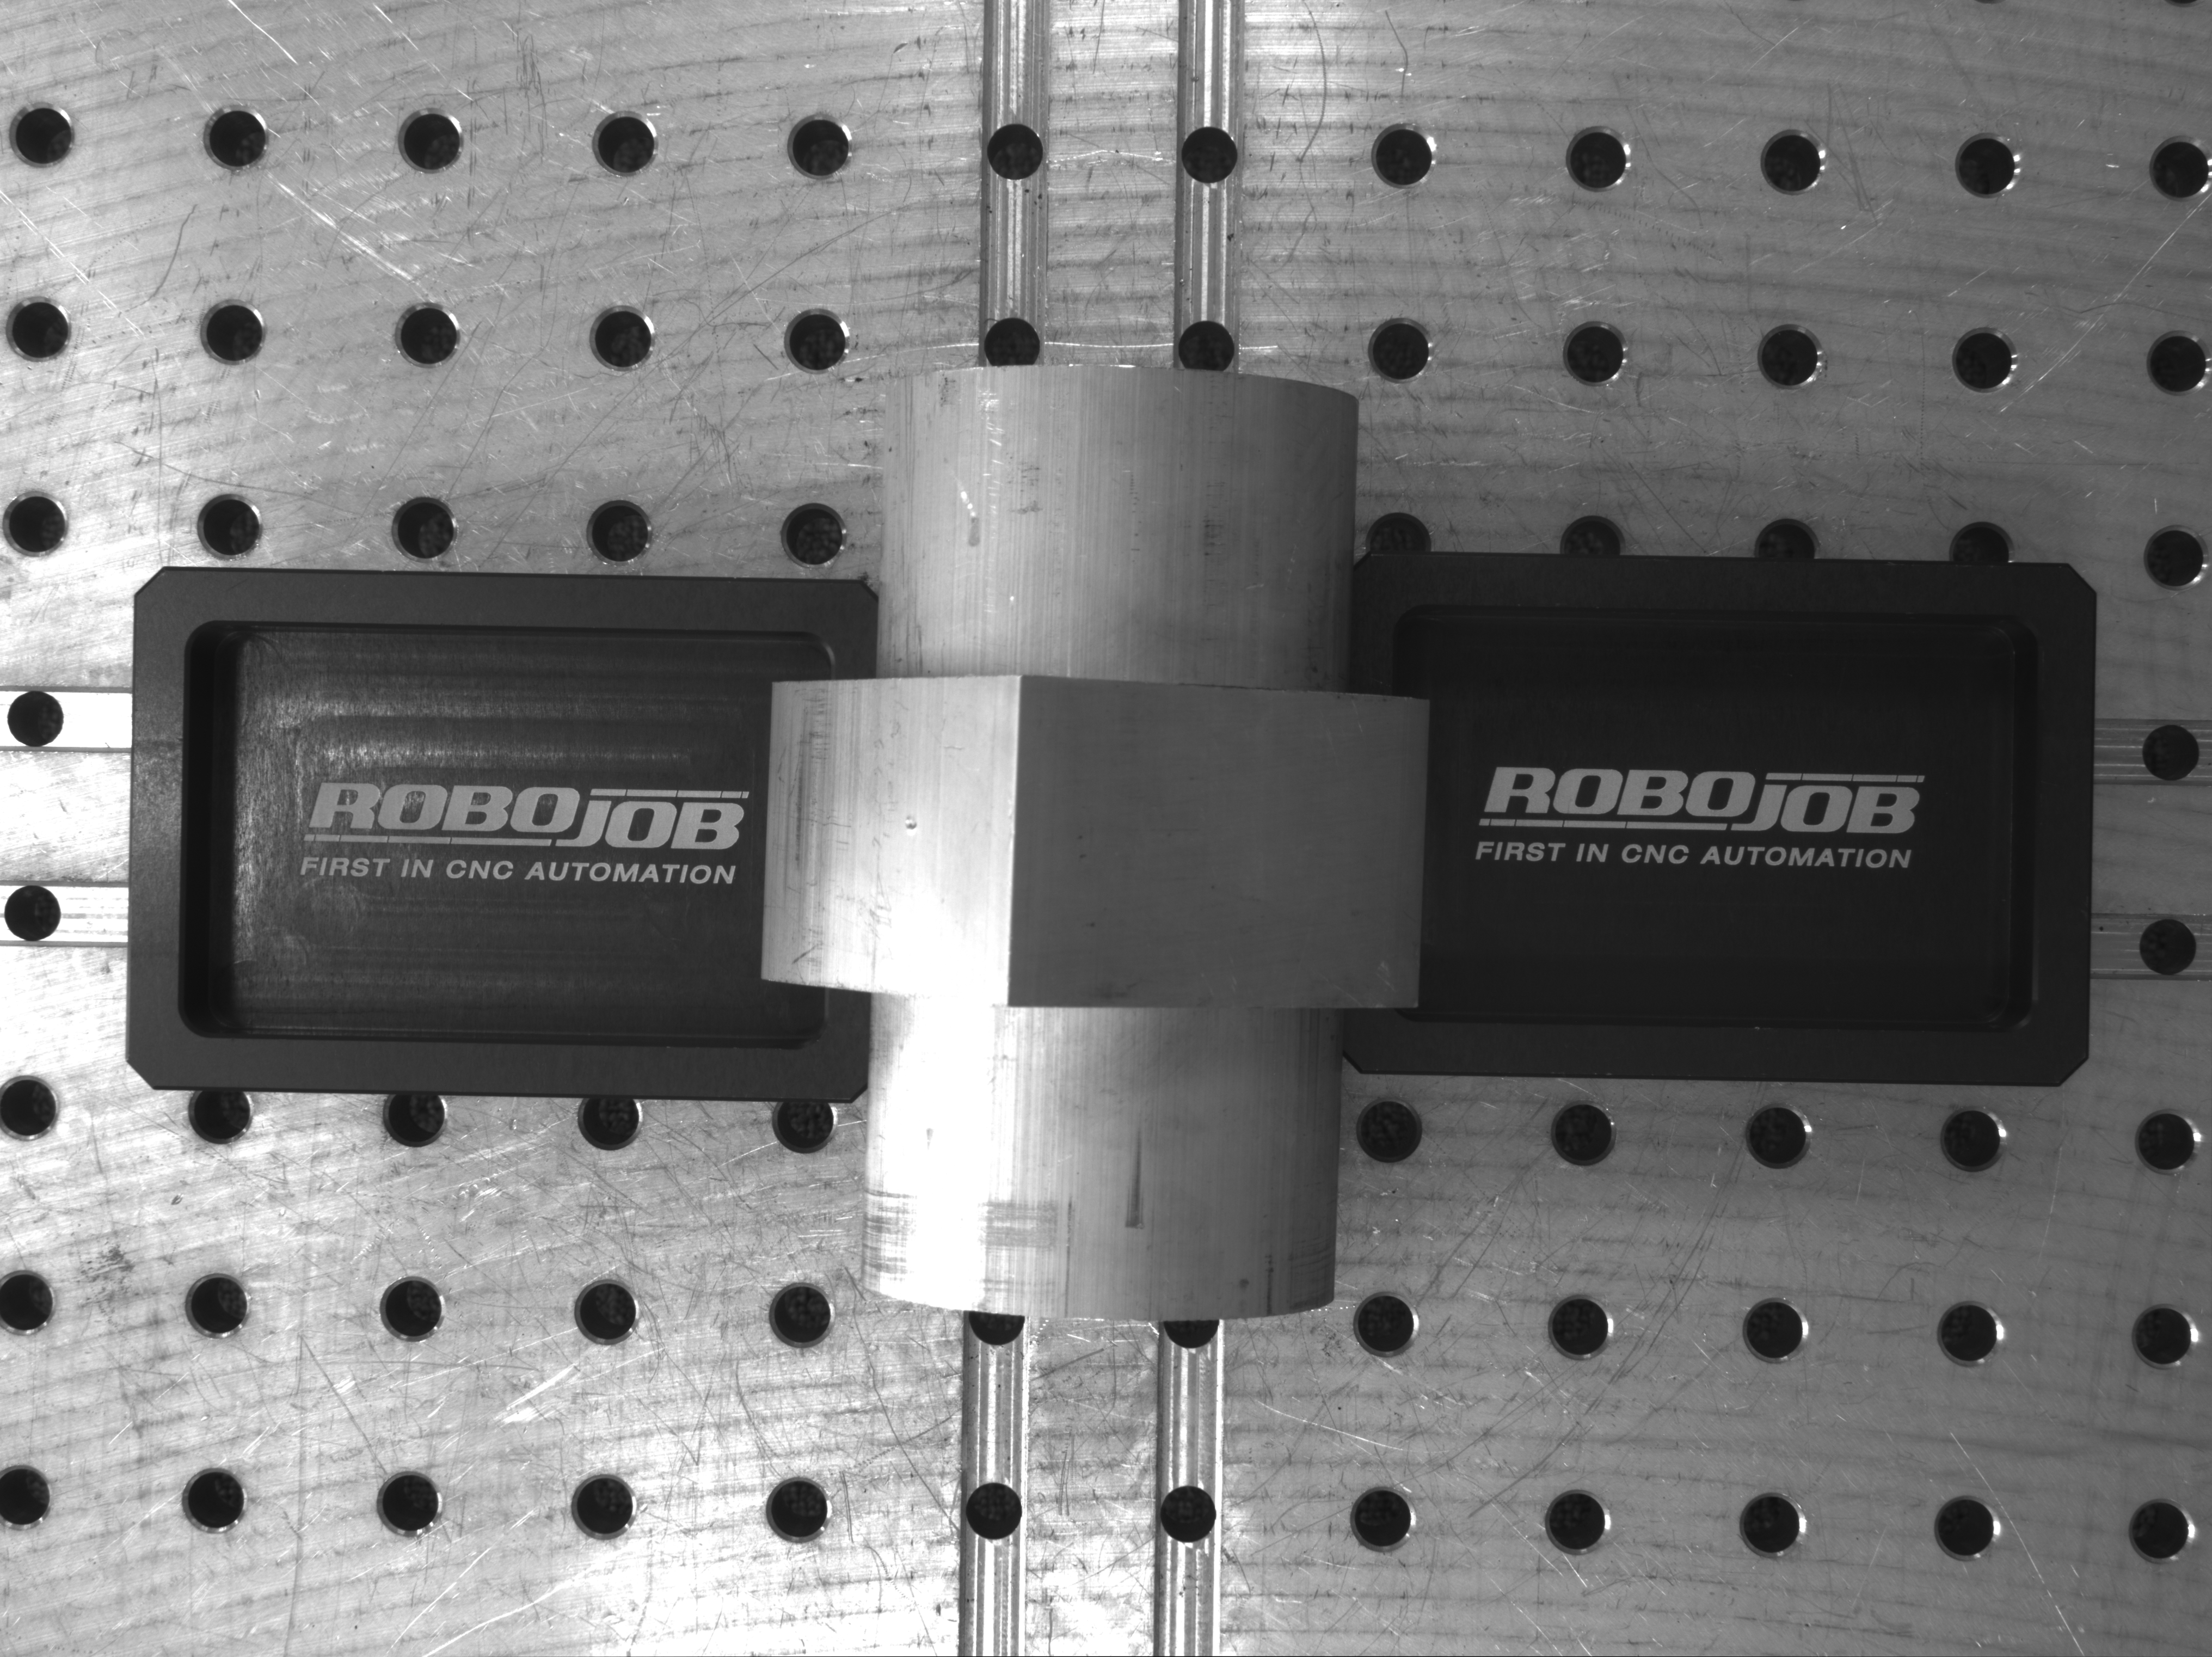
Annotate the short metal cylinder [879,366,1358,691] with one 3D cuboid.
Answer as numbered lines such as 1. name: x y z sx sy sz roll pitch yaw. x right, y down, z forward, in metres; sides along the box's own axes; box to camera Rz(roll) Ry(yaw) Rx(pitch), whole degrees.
1. short metal cylinder: 0.002 -0.048 0.621 0.080 0.080 0.050 1 90 0

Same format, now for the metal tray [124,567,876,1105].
1. metal tray: -0.103 0.001 0.645 0.130 0.030 0.090 1 90 0

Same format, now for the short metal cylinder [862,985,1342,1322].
1. short metal cylinder: 0.000 0.053 0.620 0.080 0.080 0.050 2 90 0

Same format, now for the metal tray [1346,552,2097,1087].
1. metal tray: 0.105 -0.001 0.645 0.130 0.030 0.090 1 90 0

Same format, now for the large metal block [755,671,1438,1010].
1. large metal block: -0.003 0.002 0.606 0.080 0.080 0.050 3 89 -34
